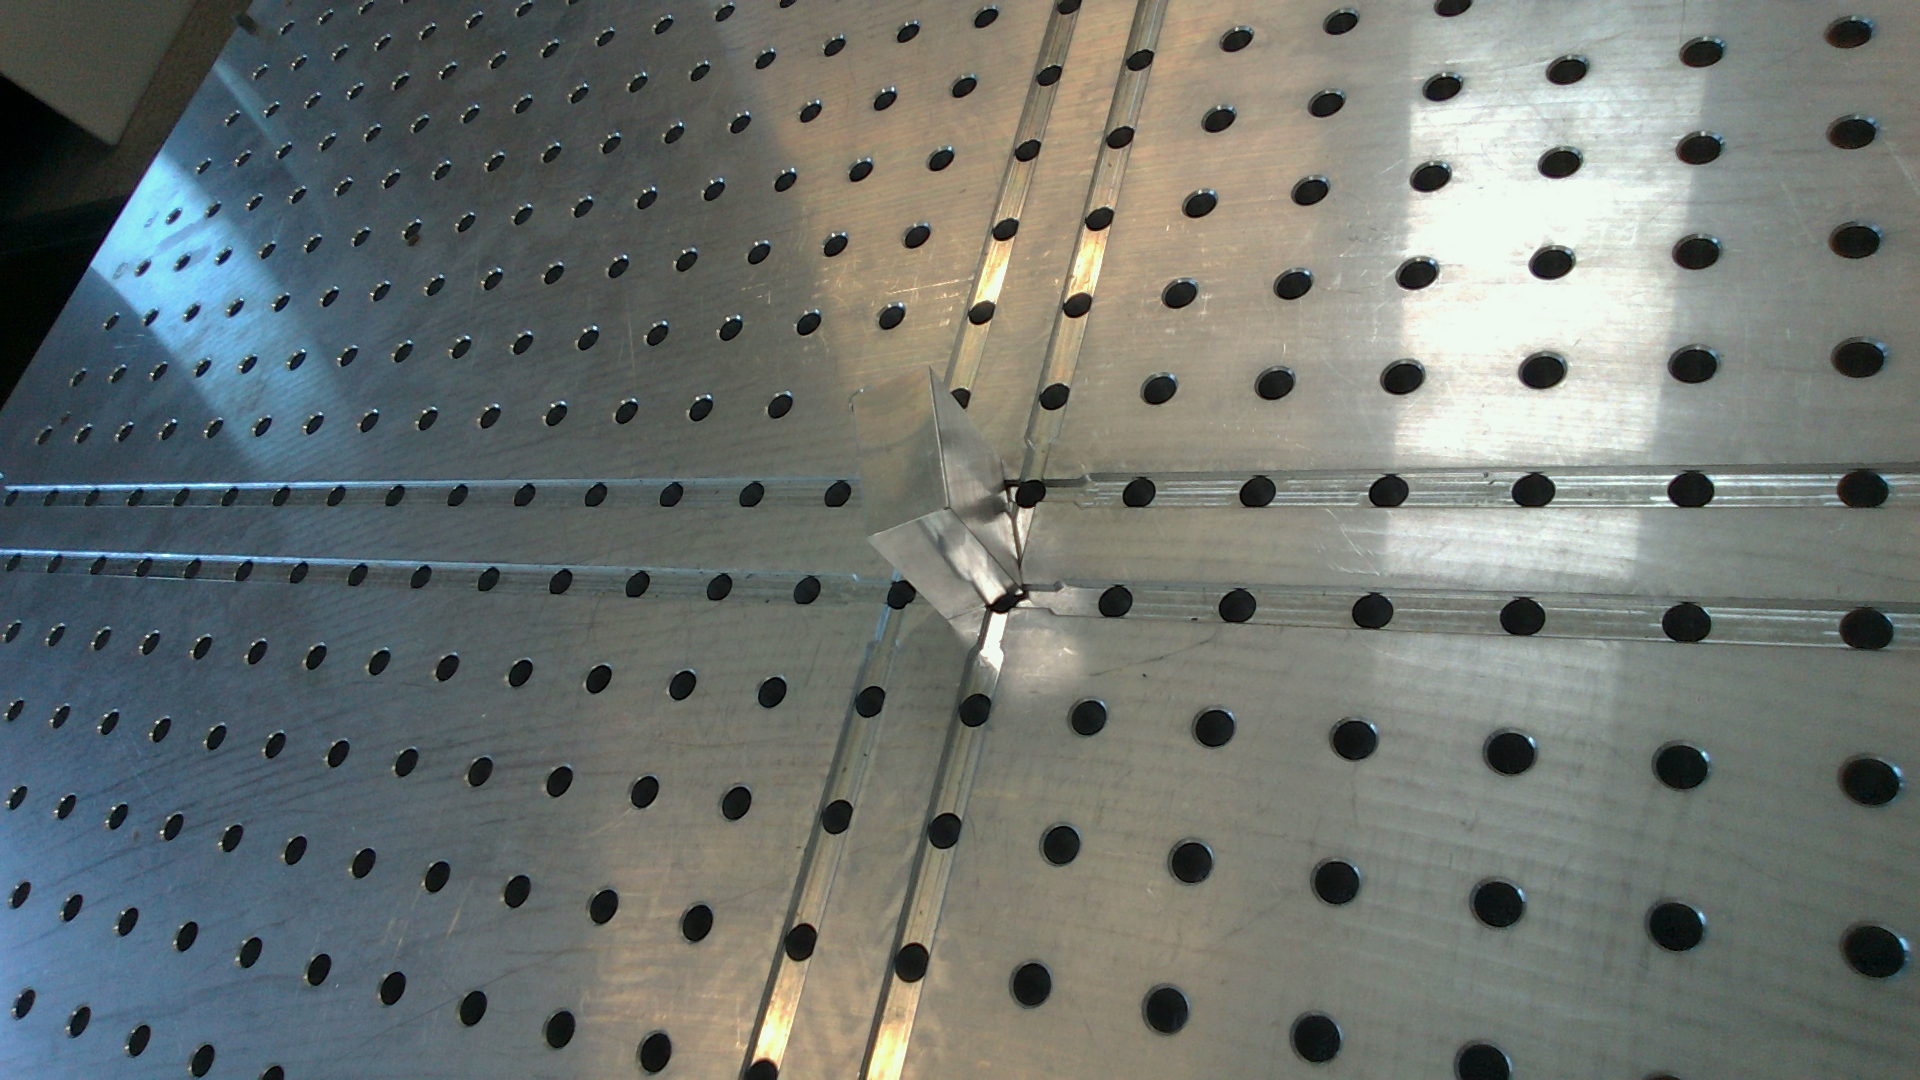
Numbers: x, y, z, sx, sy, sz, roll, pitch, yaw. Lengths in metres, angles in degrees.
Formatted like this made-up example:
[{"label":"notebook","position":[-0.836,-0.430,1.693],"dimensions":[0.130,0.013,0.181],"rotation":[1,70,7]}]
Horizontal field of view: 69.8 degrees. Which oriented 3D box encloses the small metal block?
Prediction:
[{"label":"small metal block","position":[-0.006,-0.013,0.392],"dimensions":[0.025,0.050,0.050],"rotation":[-20,54,16]}]
